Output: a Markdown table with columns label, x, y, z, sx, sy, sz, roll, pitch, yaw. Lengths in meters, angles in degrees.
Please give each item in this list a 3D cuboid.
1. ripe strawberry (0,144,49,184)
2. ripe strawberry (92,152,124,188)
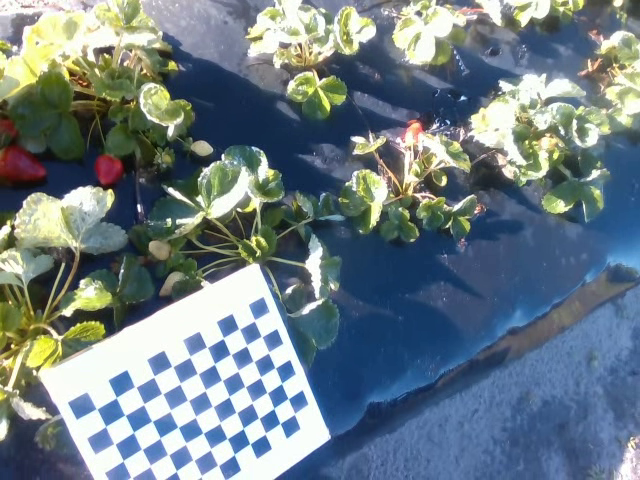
| label | x | y | z | sx | sy | sz | roll | pitch | yaw |
| --- | --- | --- | --- | --- | --- | --- | --- | --- | --- |
| ripe strawberry | -0.347 | -0.087 | 0.725 | 0.056 | 0.044 | 0.040 | 28 | -20 | -24 |
| ripe strawberry | -0.259 | -0.084 | 0.760 | 0.039 | 0.047 | 0.040 | 16 | -26 | -27 |
